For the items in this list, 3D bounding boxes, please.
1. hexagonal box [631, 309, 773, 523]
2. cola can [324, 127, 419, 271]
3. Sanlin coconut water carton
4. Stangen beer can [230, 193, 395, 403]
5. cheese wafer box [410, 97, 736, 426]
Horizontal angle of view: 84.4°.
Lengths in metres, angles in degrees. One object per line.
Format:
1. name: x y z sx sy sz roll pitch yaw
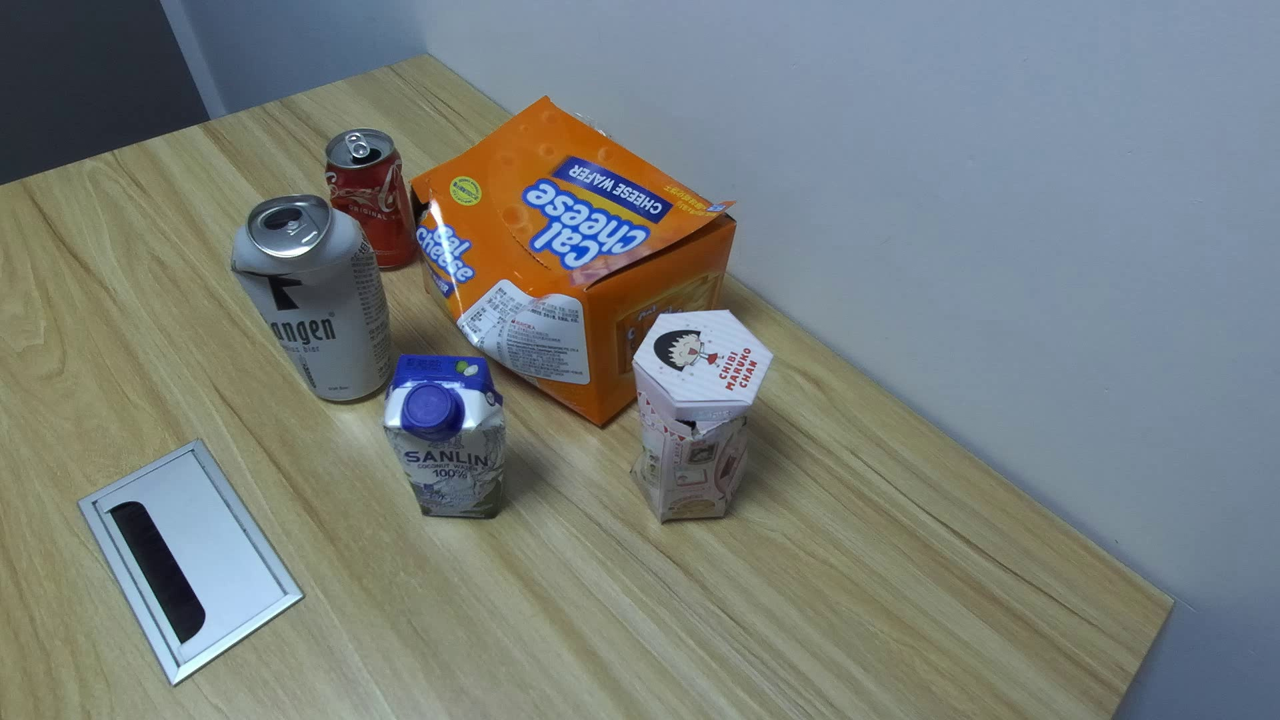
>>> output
1. hexagonal box: 0.034 0.042 0.484 0.091 0.134 0.090 -17 51 -18
2. cola can: -0.236 -0.142 0.624 0.066 0.117 0.066 4 50 -1
3. Sanlin coconut water carton: -0.124 0.051 0.461 0.078 0.142 0.057 2 54 -3
4. Stangen beer can: -0.227 -0.039 0.506 0.065 0.162 0.077 33 56 20
5. cheese wafer box: -0.066 -0.080 0.571 0.218 0.145 0.192 36 56 23
